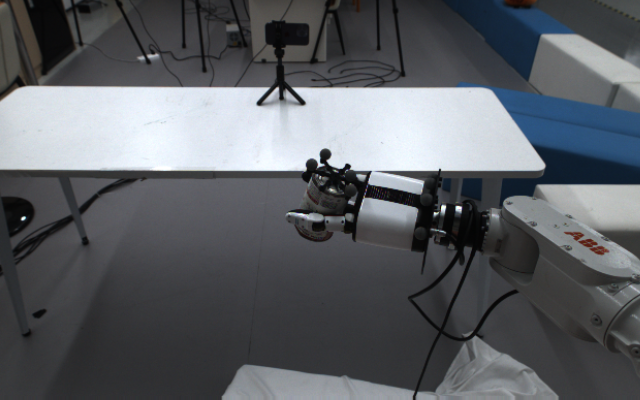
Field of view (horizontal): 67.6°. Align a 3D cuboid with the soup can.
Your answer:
[{"bbox_3d":[0.006,0.007,0.745,0.067,0.101,0.067,14,40,-12],"label":"soup can"}]
